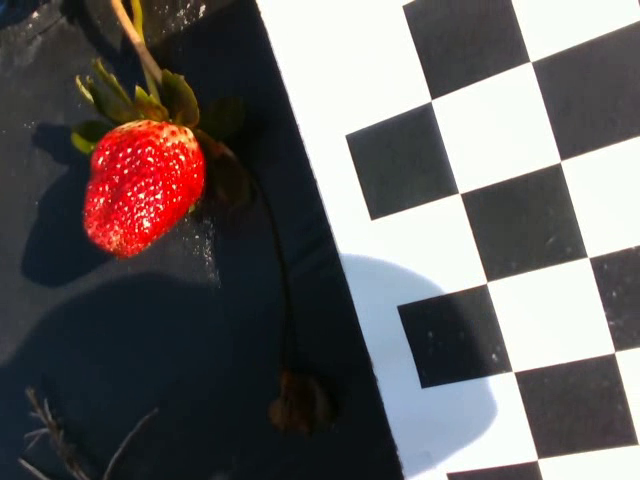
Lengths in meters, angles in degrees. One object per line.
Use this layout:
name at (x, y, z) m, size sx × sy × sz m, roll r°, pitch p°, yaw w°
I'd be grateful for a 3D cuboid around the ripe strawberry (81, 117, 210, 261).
ripe strawberry at (-0.021, -0.007, 0.067) m, size 0.015 × 0.023 × 0.015 m, roll -8°, pitch -46°, yaw 18°
